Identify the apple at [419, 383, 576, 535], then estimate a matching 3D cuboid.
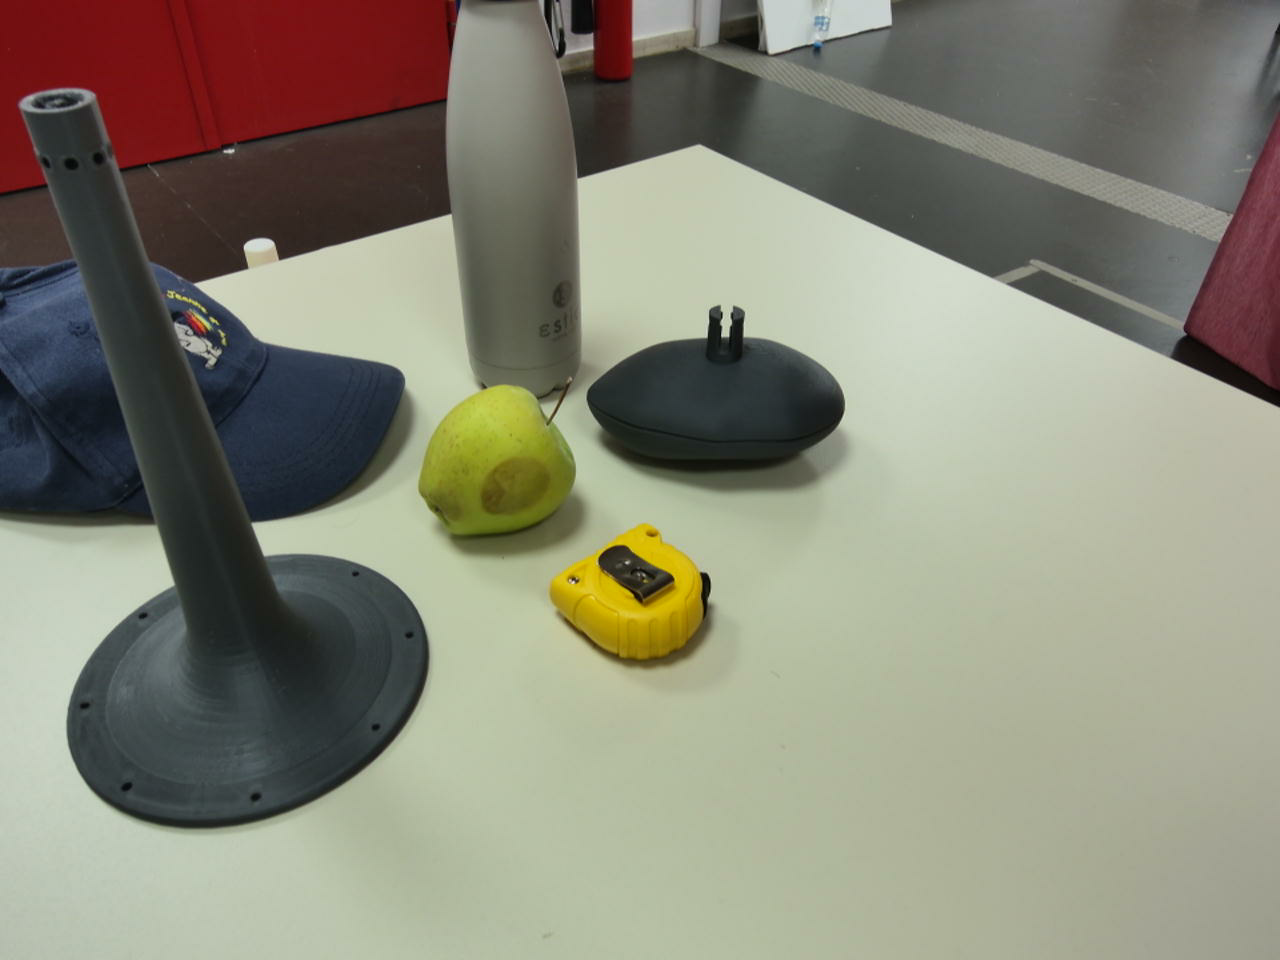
[{"bbox_3d":[-0.072,-0.011,0.510,0.077,0.075,0.072,5,38,4],"label":"apple"}]
